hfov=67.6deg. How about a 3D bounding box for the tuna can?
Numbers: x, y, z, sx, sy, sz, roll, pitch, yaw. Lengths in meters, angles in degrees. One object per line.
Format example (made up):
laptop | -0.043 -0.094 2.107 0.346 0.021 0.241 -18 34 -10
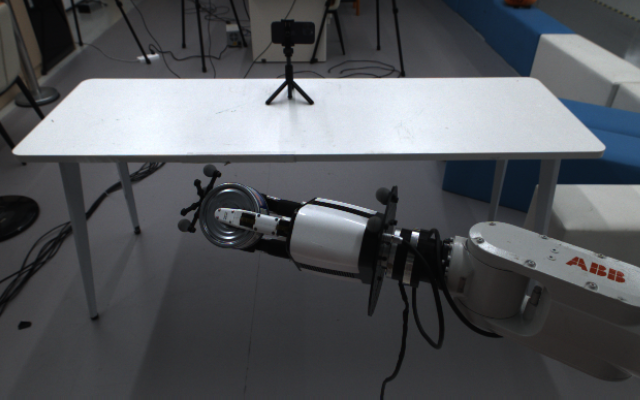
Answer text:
tuna can | -0.107 0.026 0.621 0.085 0.085 0.034 12 -4 14
